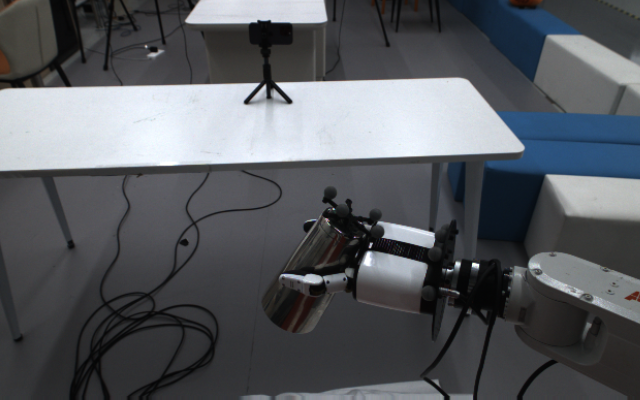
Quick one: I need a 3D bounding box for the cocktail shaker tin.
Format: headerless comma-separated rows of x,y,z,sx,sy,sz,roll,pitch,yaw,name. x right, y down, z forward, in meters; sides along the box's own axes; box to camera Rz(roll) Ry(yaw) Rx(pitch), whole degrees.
-0.004,0.090,0.676,0.093,0.170,0.093,24,30,-15,cocktail shaker tin
